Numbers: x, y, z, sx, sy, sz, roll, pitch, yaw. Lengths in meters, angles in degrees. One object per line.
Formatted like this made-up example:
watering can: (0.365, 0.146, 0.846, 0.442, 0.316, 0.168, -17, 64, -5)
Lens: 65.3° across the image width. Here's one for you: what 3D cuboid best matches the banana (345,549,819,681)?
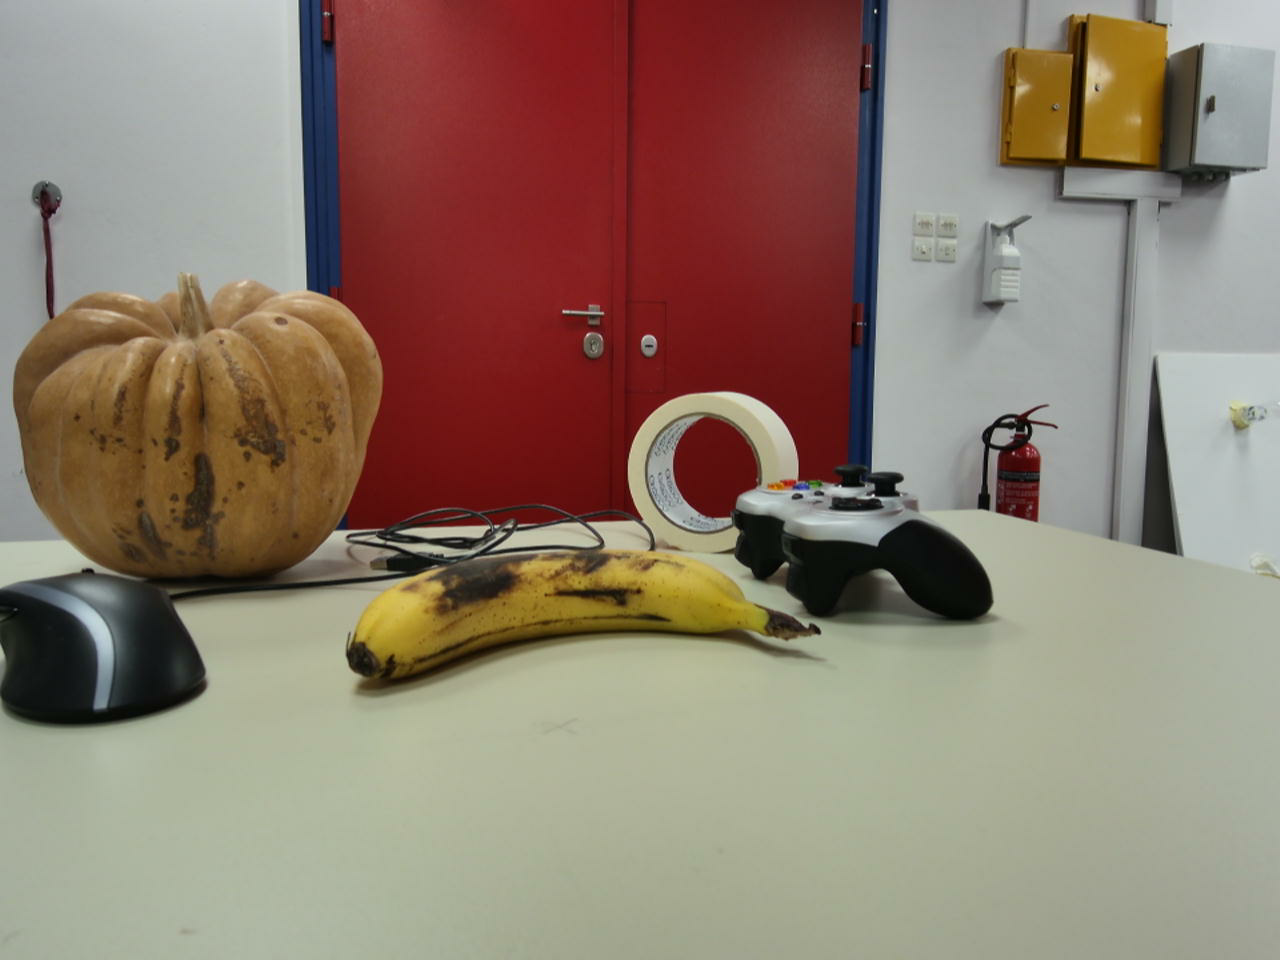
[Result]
banana: (-0.030, 0.055, 0.433, 0.187, 0.039, 0.094, -1, 4, -15)
